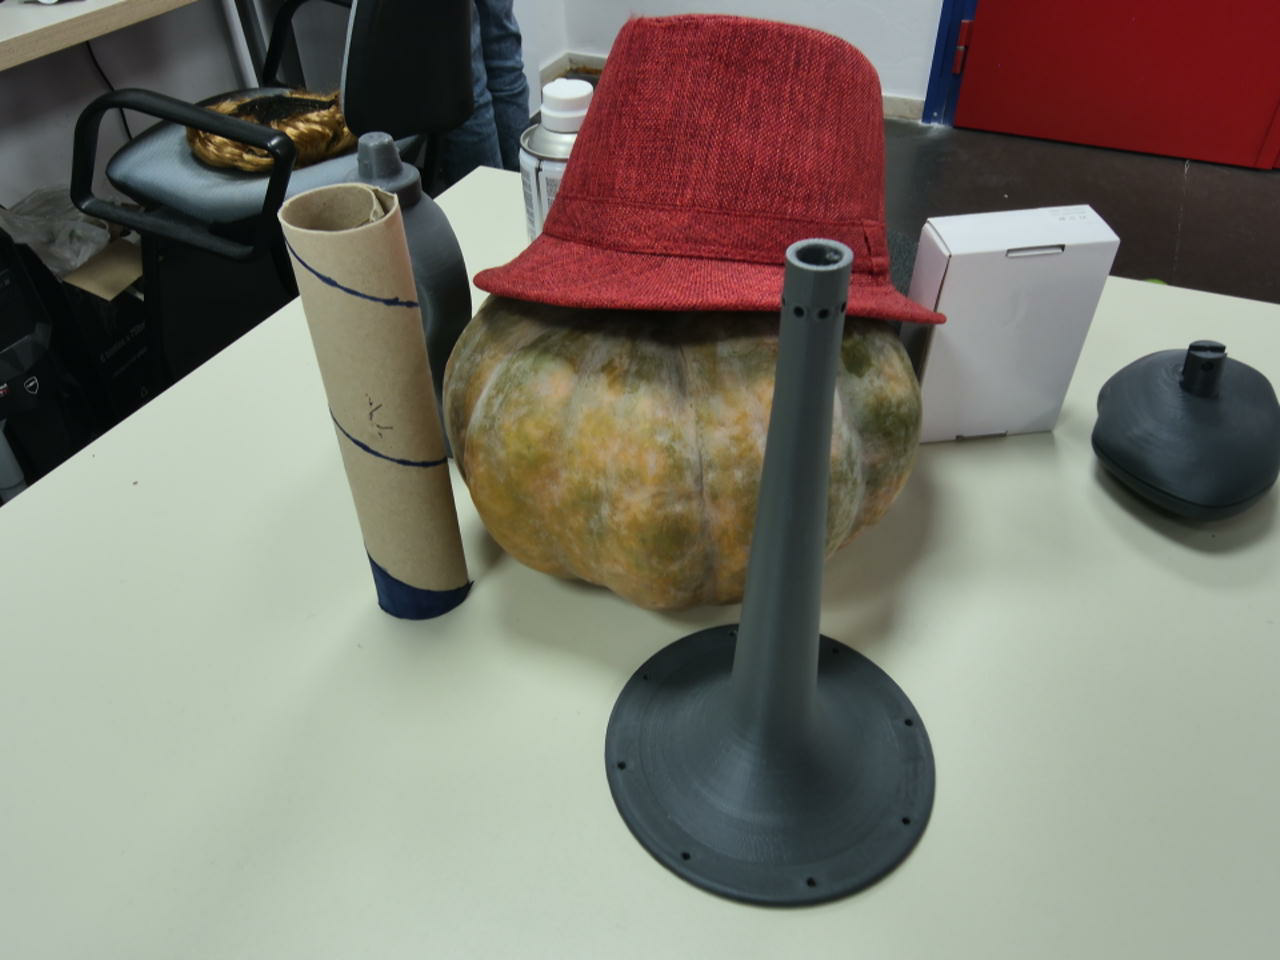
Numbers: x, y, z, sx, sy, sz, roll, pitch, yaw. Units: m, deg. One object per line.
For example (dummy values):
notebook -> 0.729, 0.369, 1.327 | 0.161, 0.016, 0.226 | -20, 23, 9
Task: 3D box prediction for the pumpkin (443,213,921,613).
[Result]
pumpkin -> 0.017, -0.042, 0.533 | 0.252, 0.169, 0.251 | 0, 38, 0
